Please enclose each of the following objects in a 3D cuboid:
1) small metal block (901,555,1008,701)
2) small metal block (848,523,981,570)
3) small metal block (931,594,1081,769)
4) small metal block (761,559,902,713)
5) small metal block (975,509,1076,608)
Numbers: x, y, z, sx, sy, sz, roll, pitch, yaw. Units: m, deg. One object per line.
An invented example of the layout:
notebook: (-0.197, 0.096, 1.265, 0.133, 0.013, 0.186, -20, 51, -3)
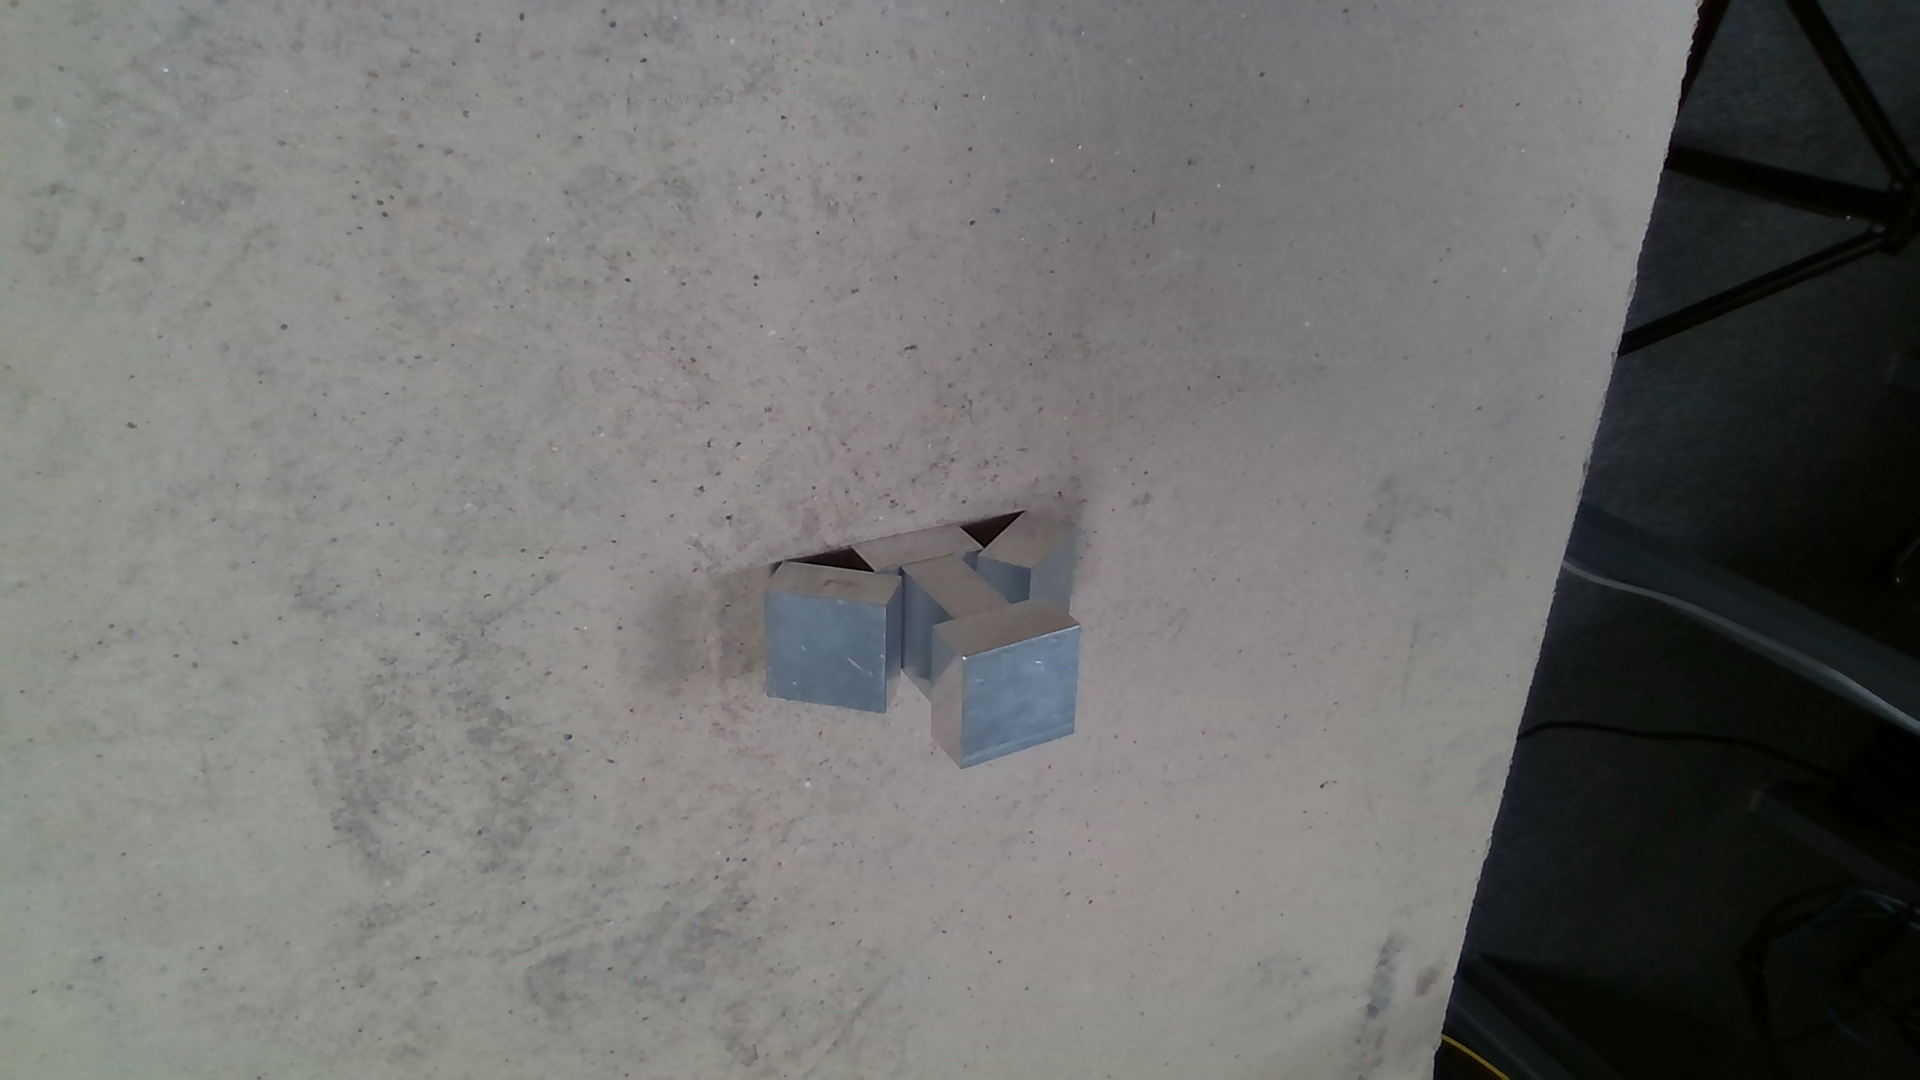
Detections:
small metal block: (-0.002, 0.040, 0.553, 0.025, 0.050, 0.050, -12, 121, -26)
small metal block: (-0.019, 0.024, 0.583, 0.050, 0.025, 0.050, -12, 121, -26)
small metal block: (0.017, 0.053, 0.523, 0.050, 0.025, 0.050, -13, 121, -25)
small metal block: (-0.051, 0.038, 0.554, 0.050, 0.025, 0.050, 7, 118, 10)
small metal block: (0.027, 0.021, 0.594, 0.050, 0.025, 0.050, -42, 140, -54)
